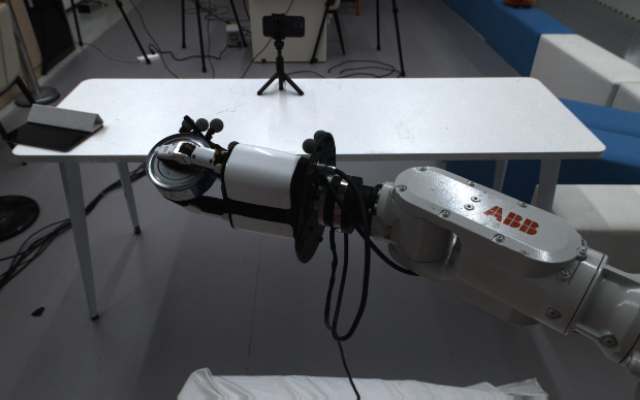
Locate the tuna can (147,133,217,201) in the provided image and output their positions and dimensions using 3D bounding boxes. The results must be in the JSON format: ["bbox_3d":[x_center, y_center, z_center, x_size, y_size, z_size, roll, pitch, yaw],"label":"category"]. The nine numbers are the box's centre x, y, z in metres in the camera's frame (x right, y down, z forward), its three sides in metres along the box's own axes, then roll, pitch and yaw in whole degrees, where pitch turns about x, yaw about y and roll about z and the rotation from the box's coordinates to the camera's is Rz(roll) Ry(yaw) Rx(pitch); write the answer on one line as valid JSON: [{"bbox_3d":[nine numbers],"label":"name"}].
[{"bbox_3d":[-0.177,-0.042,0.626,0.085,0.034,0.085,-2,59,3],"label":"tuna can"}]
